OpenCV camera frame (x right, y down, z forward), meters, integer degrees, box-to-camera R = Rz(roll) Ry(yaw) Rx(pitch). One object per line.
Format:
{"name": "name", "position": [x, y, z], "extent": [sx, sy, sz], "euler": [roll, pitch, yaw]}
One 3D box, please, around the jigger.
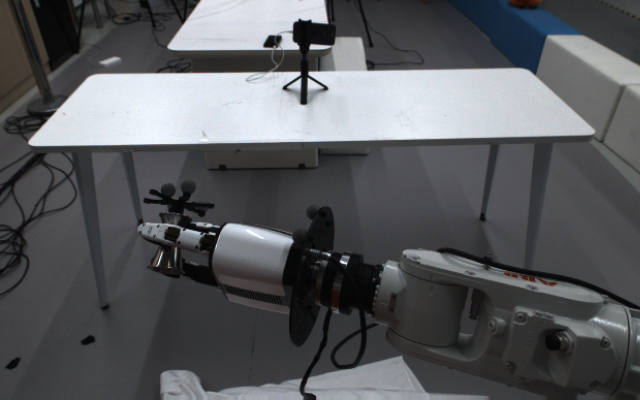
{"name": "jigger", "position": [-0.181, 0.053, 0.587], "extent": [0.043, 0.043, 0.071], "euler": [5, 71, 4]}
